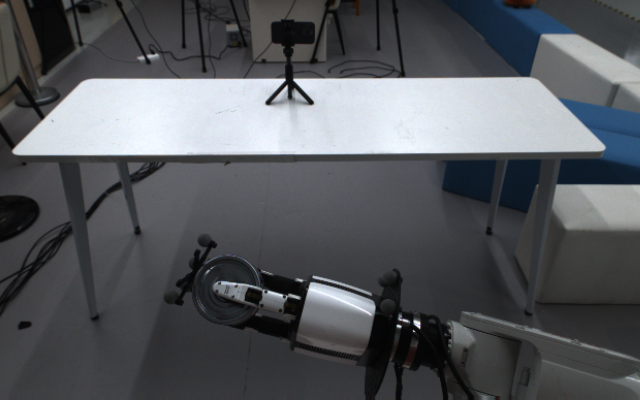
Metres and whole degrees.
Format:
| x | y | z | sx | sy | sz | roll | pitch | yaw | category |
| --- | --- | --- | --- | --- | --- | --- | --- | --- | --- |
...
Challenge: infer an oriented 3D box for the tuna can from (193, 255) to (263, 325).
| x | y | z | sx | sy | sz | roll | pitch | yaw | category |
| --- | --- | --- | --- | --- | --- | --- | --- | --- | --- |
| -0.108 | 0.116 | 0.595 | 0.085 | 0.034 | 0.085 | 0 | 75 | -2 | tuna can |
